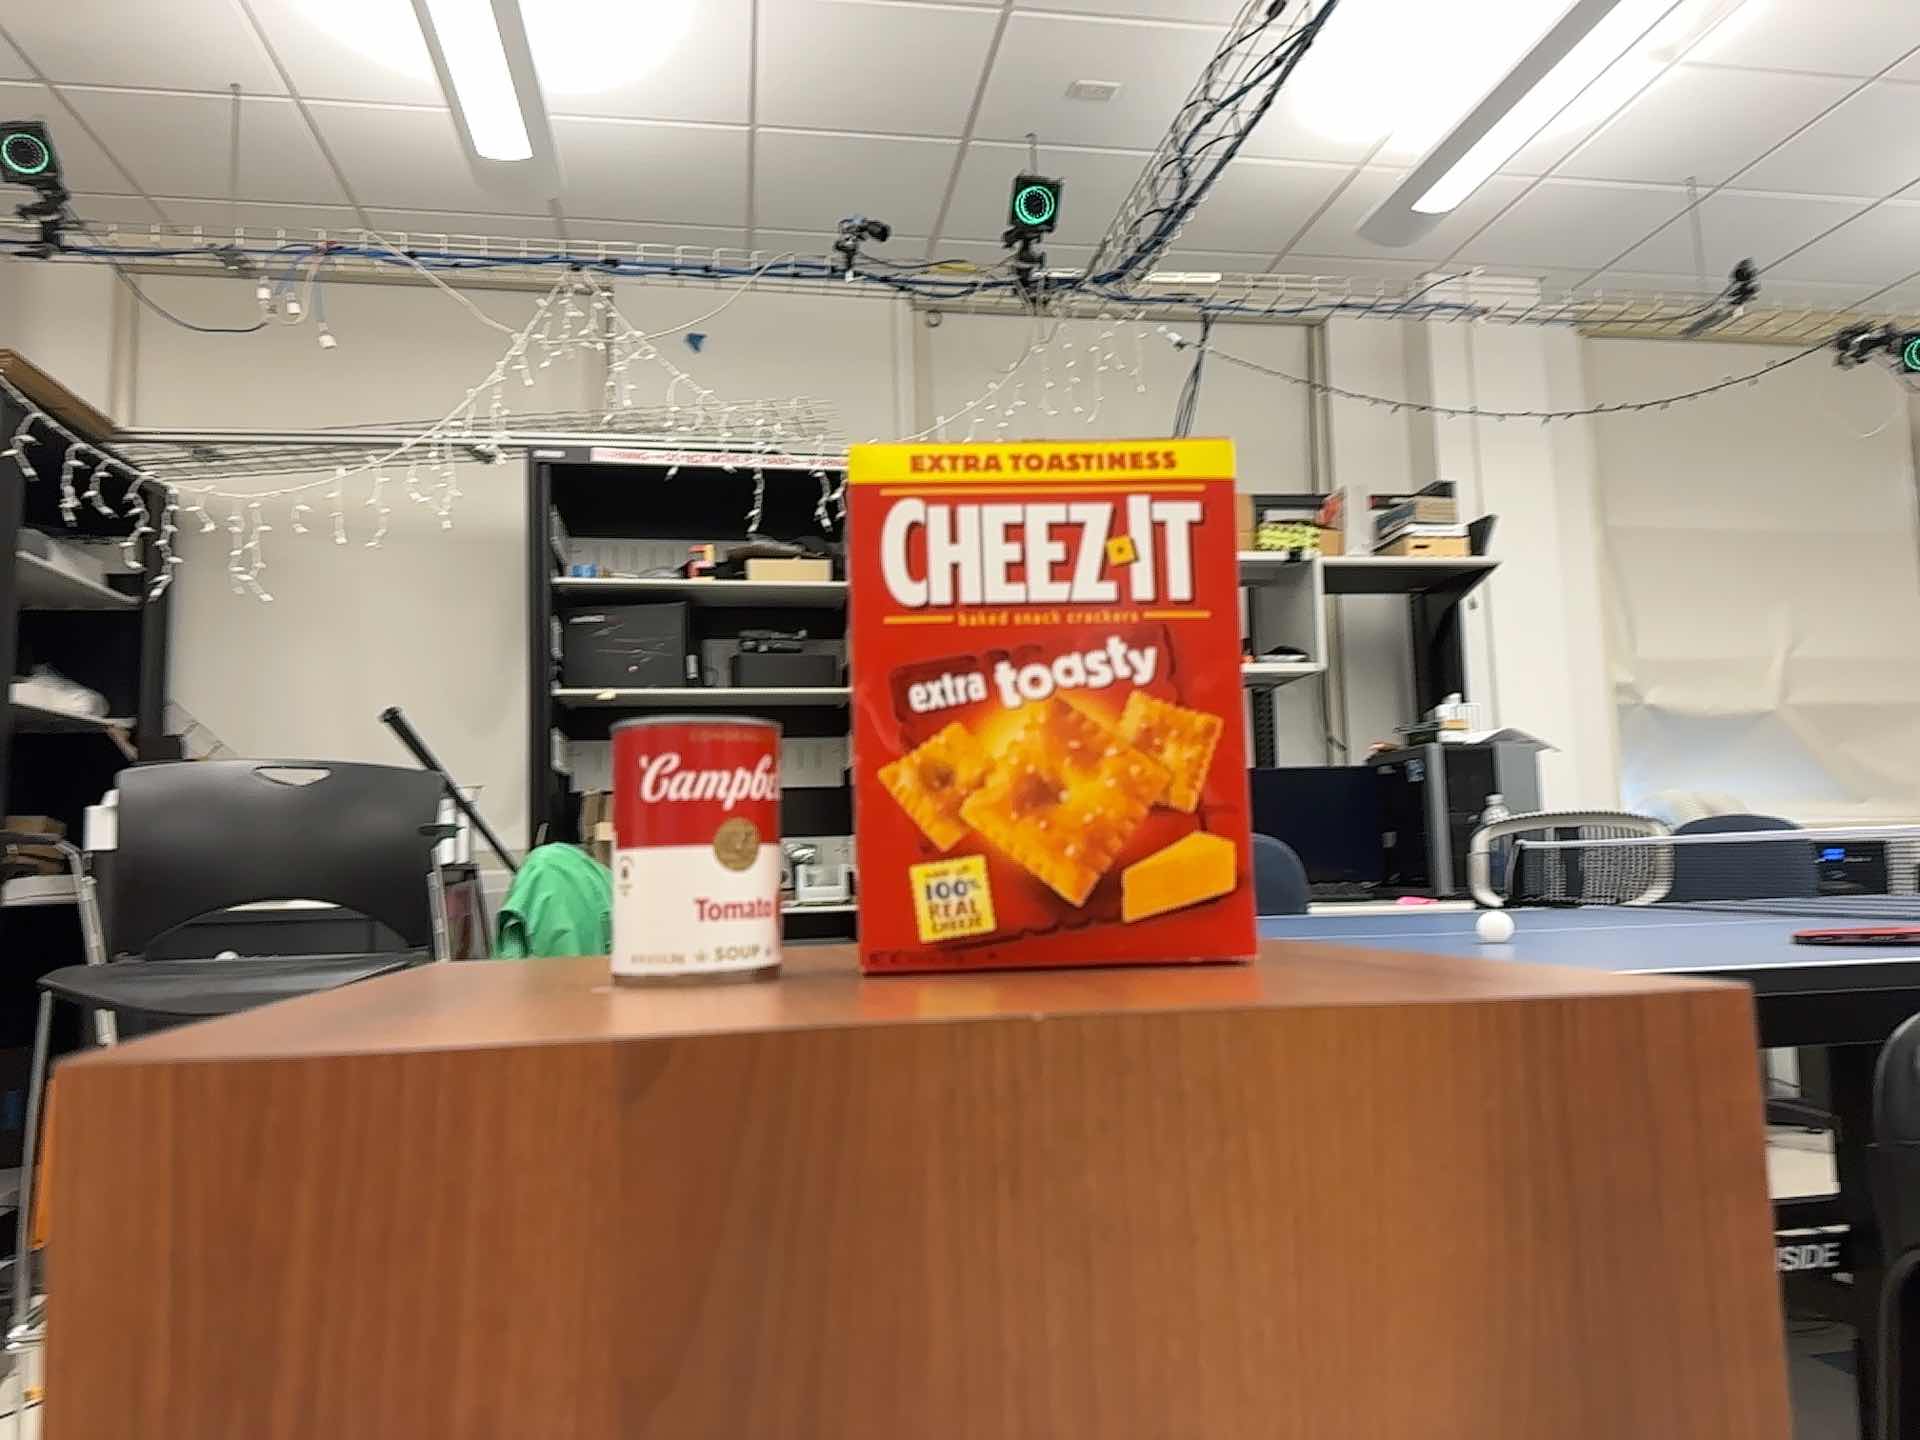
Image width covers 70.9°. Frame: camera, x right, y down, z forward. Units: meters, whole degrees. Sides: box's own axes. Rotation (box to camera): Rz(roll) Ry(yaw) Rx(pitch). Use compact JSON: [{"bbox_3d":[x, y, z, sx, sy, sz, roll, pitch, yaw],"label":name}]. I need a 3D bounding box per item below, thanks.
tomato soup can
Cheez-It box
[{"bbox_3d":[-0.104,0.054,0.532,0.067,0.102,0.067,-1,-9,0],"label":"tomato soup can"},{"bbox_3d":[0.037,-0.004,0.566,0.159,0.214,0.062,0,-8,-5],"label":"Cheez-It box"}]
